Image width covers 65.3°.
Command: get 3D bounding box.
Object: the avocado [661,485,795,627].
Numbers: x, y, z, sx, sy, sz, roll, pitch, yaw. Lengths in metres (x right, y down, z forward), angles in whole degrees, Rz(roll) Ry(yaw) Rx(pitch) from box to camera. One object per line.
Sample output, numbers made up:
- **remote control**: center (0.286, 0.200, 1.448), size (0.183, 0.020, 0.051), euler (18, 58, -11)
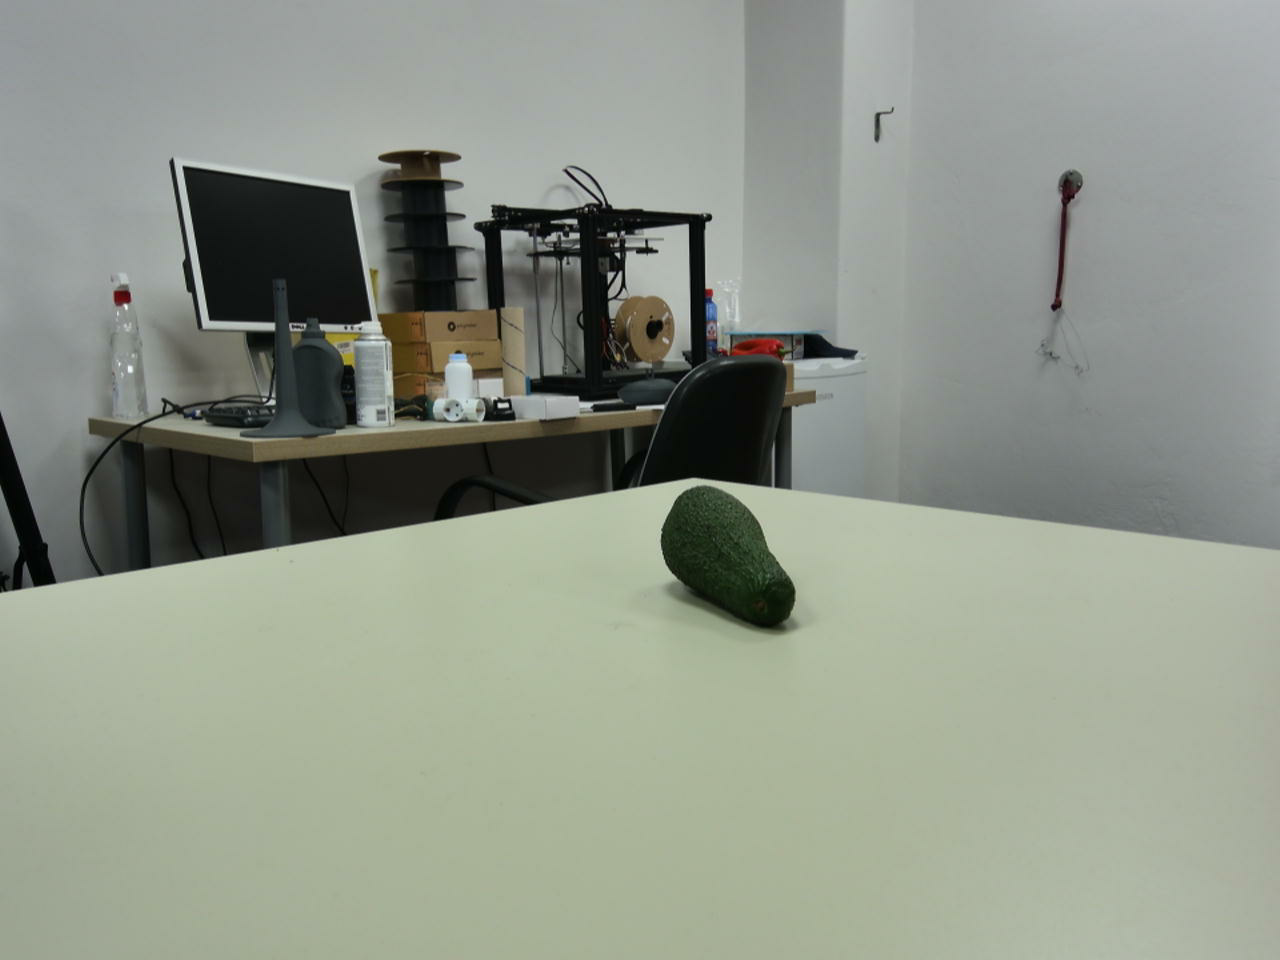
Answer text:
- **avocado**: center (0.059, 0.041, 0.608), size (0.063, 0.067, 0.141), euler (-3, 7, -28)
